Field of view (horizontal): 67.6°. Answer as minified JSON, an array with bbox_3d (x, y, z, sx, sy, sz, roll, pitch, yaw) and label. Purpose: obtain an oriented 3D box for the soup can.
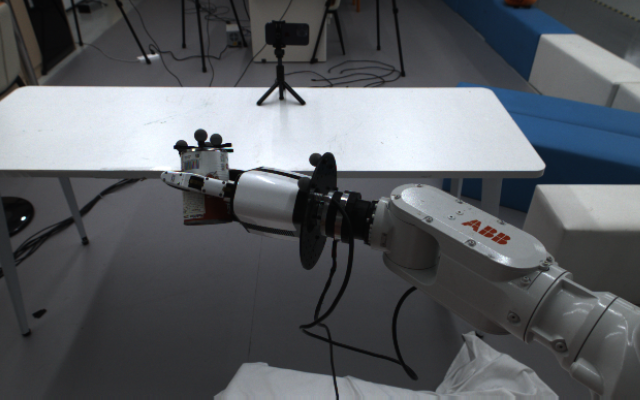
[{"bbox_3d":[-0.159,-0.016,0.681,0.067,0.101,0.067,-5,-5,0],"label":"soup can"}]
